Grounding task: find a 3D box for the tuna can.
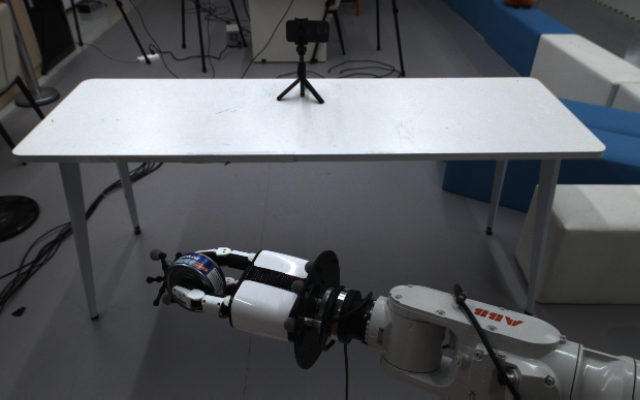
[{"bbox_3d":[-0.180,0.123,0.703,0.085,0.085,0.034,12,29,14],"label":"tuna can"}]
